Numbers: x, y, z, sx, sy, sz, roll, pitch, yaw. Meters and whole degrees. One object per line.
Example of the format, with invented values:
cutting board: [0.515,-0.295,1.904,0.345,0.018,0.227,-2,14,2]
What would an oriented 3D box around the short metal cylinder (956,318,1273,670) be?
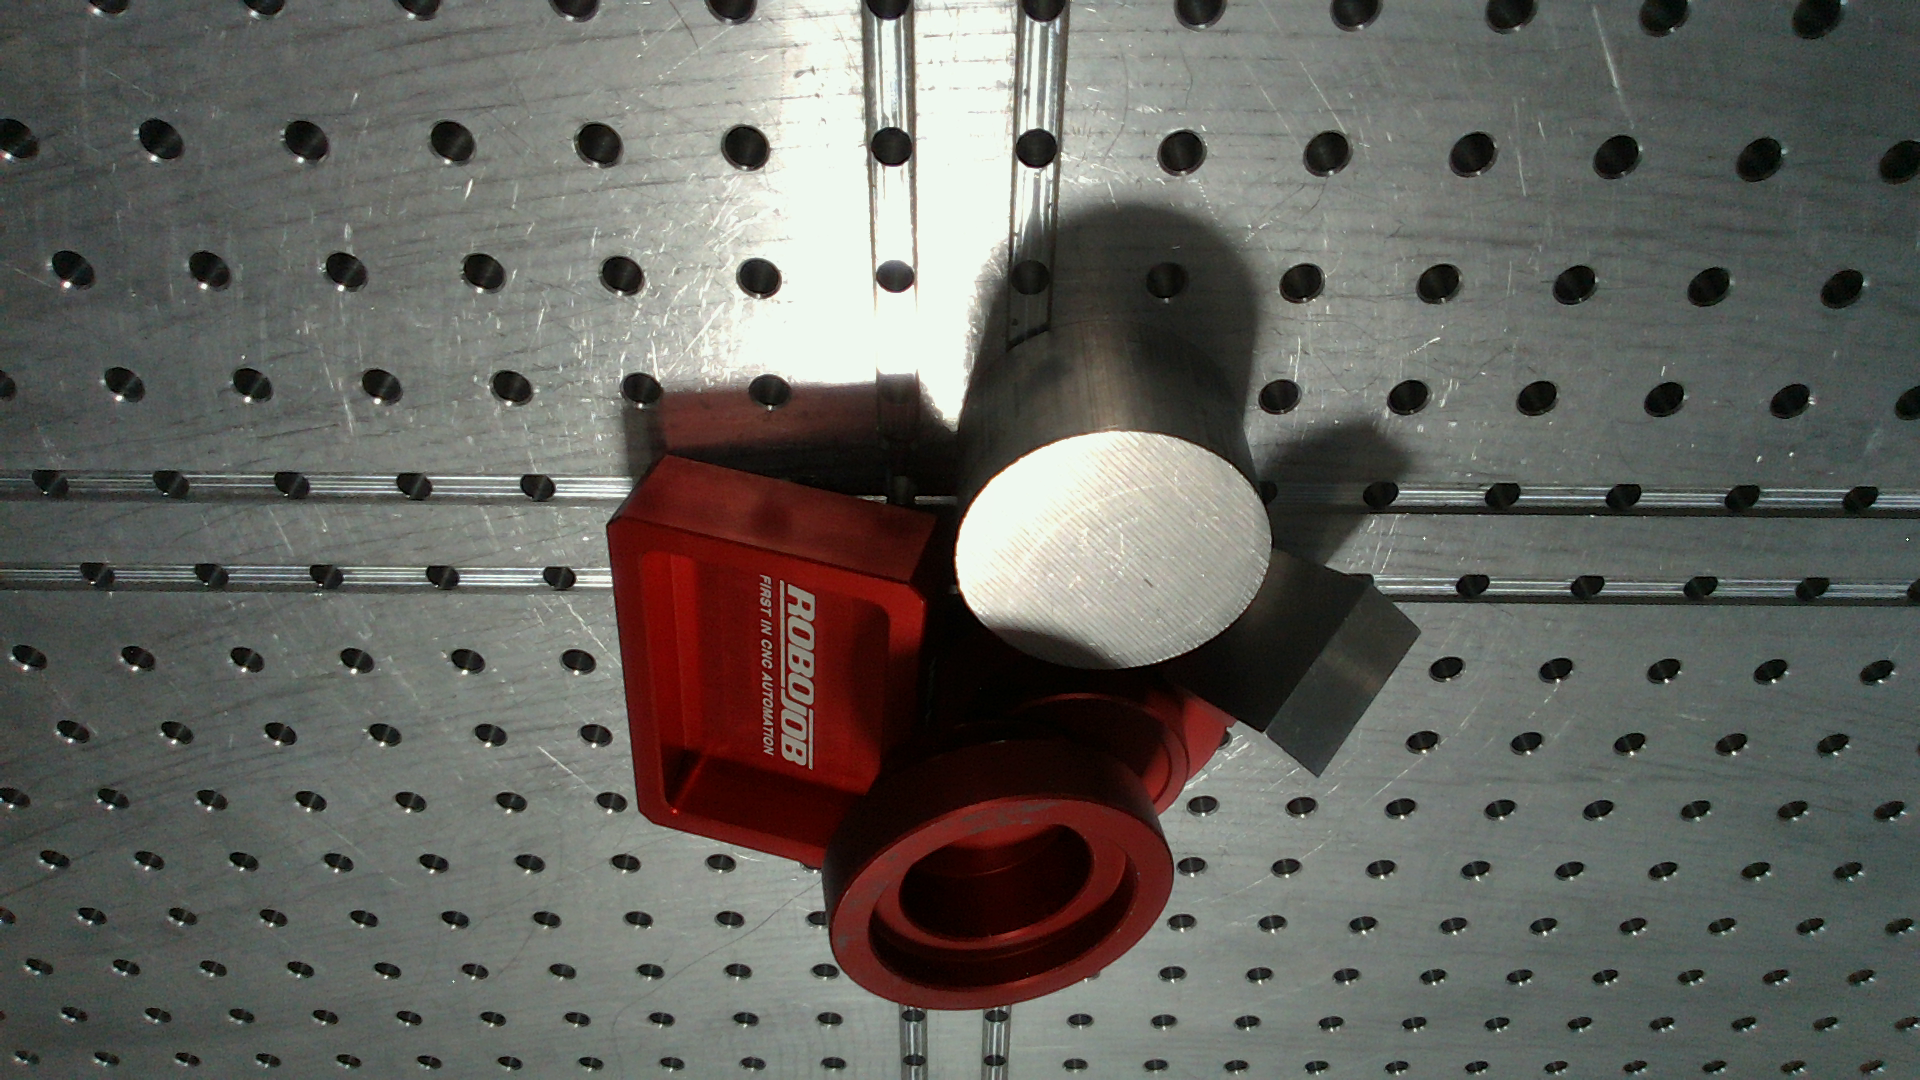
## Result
short metal cylinder: [0.039,-0.011,0.367,0.080,0.050,0.080,0,130,0]

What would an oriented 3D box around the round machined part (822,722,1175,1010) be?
round machined part: [0.009,0.090,0.396,0.098,0.042,0.098,-7,132,-8]

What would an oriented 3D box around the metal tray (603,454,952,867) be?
metal tray: [-0.053,0.043,0.412,0.090,0.030,0.130,13,130,8]

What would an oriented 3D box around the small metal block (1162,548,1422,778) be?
small metal block: [0.093,0.032,0.392,0.025,0.050,0.050,39,85,-28]

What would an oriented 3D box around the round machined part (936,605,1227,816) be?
round machined part: [0.036,0.058,0.430,0.098,0.042,0.098,0,130,0]
